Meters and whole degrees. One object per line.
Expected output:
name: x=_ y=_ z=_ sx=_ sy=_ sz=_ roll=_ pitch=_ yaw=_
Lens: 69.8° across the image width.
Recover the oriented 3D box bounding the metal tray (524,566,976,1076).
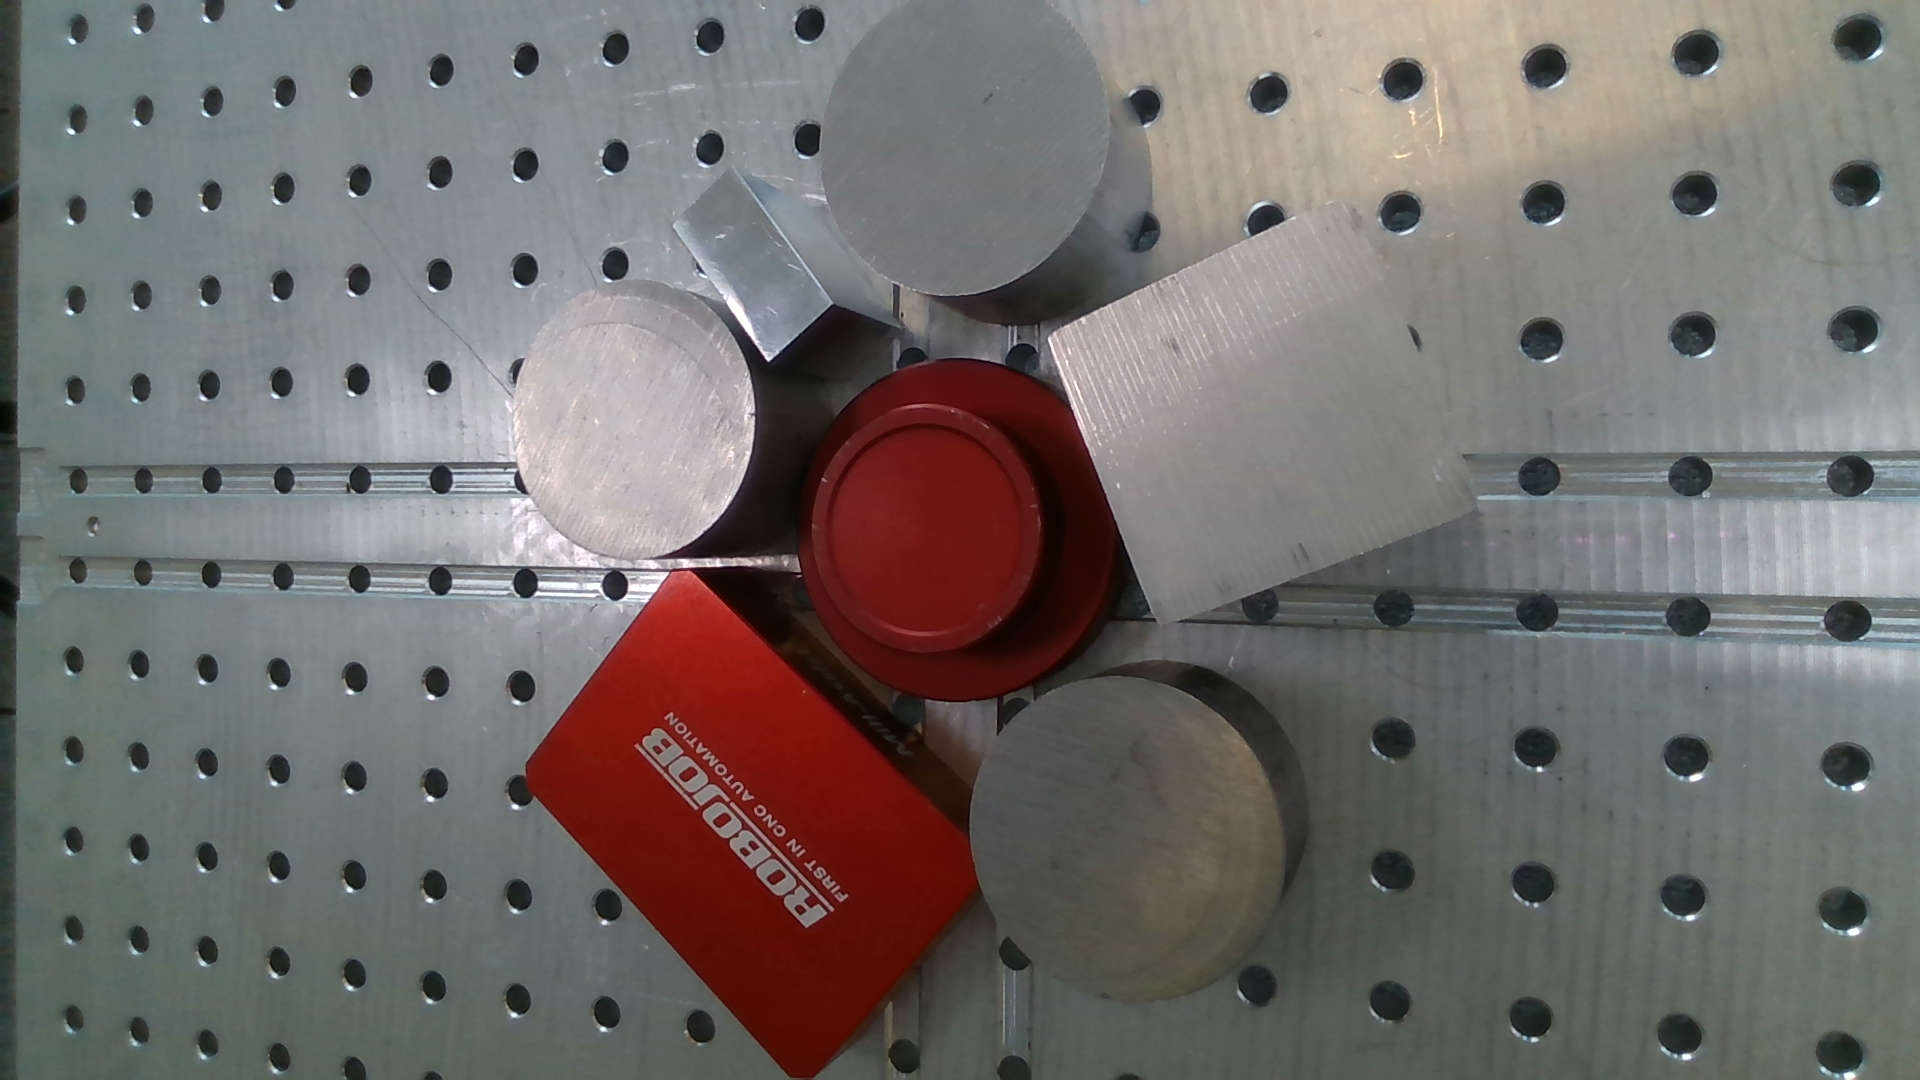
metal tray: x=-0.060 y=0.081 z=0.415 sx=0.130 sy=0.030 sz=0.090 roll=42 pitch=103 yaw=15

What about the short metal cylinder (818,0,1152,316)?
short metal cylinder: x=0.008 y=-0.104 z=0.379 sx=0.080 sy=0.050 sz=0.080 roll=0 pitch=90 yaw=20

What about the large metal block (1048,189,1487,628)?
large metal block: x=0.080 y=-0.030 z=0.354 sx=0.080 sy=0.050 sz=0.080 roll=-23 pitch=83 yaw=19

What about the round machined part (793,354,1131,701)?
round machined part: x=-0.004 y=-0.003 z=0.388 sx=0.098 sy=0.042 sz=0.098 roll=0 pitch=90 yaw=20

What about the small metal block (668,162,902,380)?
small metal block: x=-0.049 y=-0.076 z=0.400 sx=0.025 sy=0.050 sz=0.050 roll=-39 pitch=78 yaw=16

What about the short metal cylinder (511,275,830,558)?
short metal cylinder: x=-0.086 y=-0.035 z=0.414 sx=0.080 sy=0.050 sz=0.080 roll=0 pitch=90 yaw=20

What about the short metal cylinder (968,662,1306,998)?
short metal cylinder: x=0.048 y=0.074 z=0.365 sx=0.080 sy=0.050 sz=0.080 roll=0 pitch=90 yaw=20
